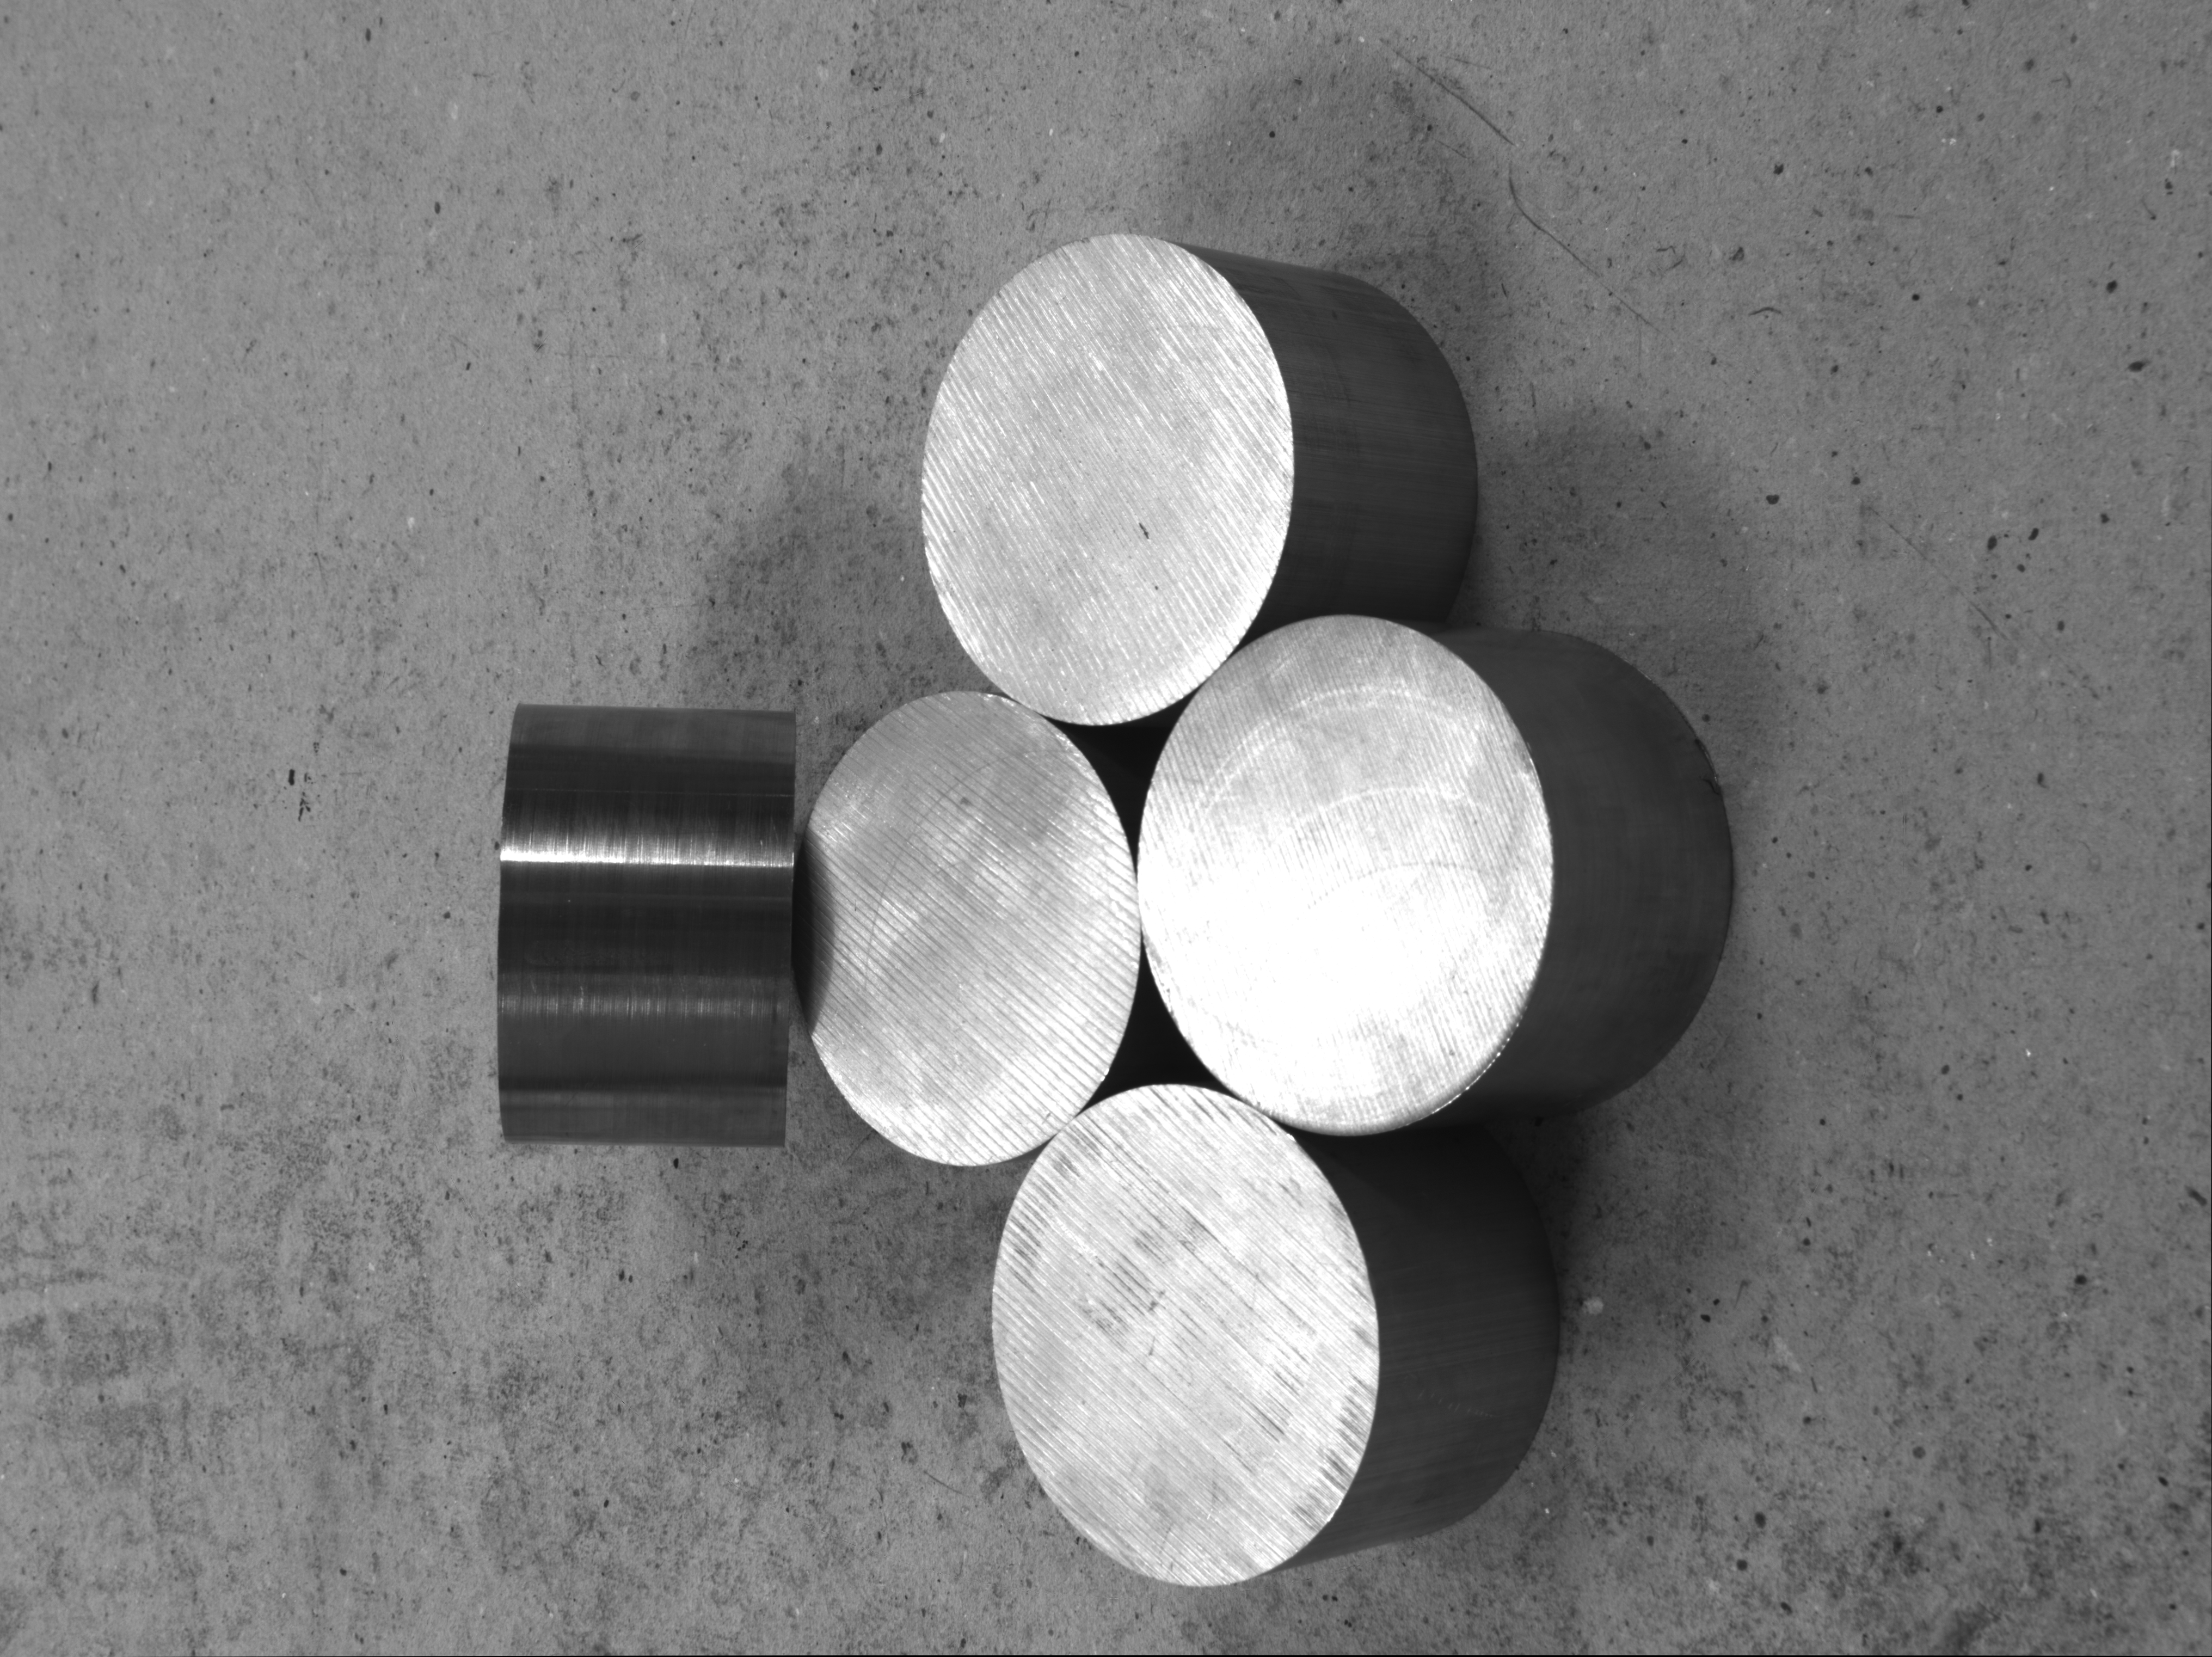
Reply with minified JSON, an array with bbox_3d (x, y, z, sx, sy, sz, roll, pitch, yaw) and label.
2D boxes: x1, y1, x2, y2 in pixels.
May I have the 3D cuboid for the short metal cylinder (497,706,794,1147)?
[{"bbox_3d":[-0.083,0.018,0.672,0.080,0.050,0.080,-179,90,-85],"label":"short metal cylinder"}]

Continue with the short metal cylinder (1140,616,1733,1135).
[{"bbox_3d":[0.052,0.007,0.585,0.080,0.050,0.080,0,90,40],"label":"short metal cylinder"}]

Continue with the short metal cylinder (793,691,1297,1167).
[{"bbox_3d":[-0.009,0.017,0.636,0.080,0.050,0.080,0,90,40],"label":"short metal cylinder"}]

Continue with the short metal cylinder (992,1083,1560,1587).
[{"bbox_3d":[0.028,0.081,0.605,0.080,0.050,0.080,0,90,40],"label":"short metal cylinder"}]

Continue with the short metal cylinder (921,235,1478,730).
[{"bbox_3d":[0.015,-0.056,0.616,0.080,0.050,0.080,0,90,40],"label":"short metal cylinder"}]
